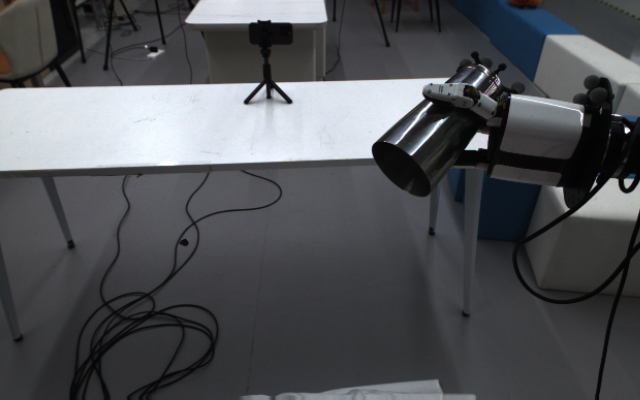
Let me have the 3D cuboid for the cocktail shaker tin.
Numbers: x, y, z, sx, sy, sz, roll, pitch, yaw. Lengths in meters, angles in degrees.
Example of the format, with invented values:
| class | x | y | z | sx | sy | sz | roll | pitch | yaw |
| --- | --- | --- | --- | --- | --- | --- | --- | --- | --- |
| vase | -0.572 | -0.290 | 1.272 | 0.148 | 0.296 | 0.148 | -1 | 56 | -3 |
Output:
| class | x | y | z | sx | sy | sz | roll | pitch | yaw |
| --- | --- | --- | --- | --- | --- | --- | --- | --- | --- |
| cocktail shaker tin | 0.157 | -0.099 | 0.615 | 0.170 | 0.093 | 0.093 | -44 | 51 | -15 |
